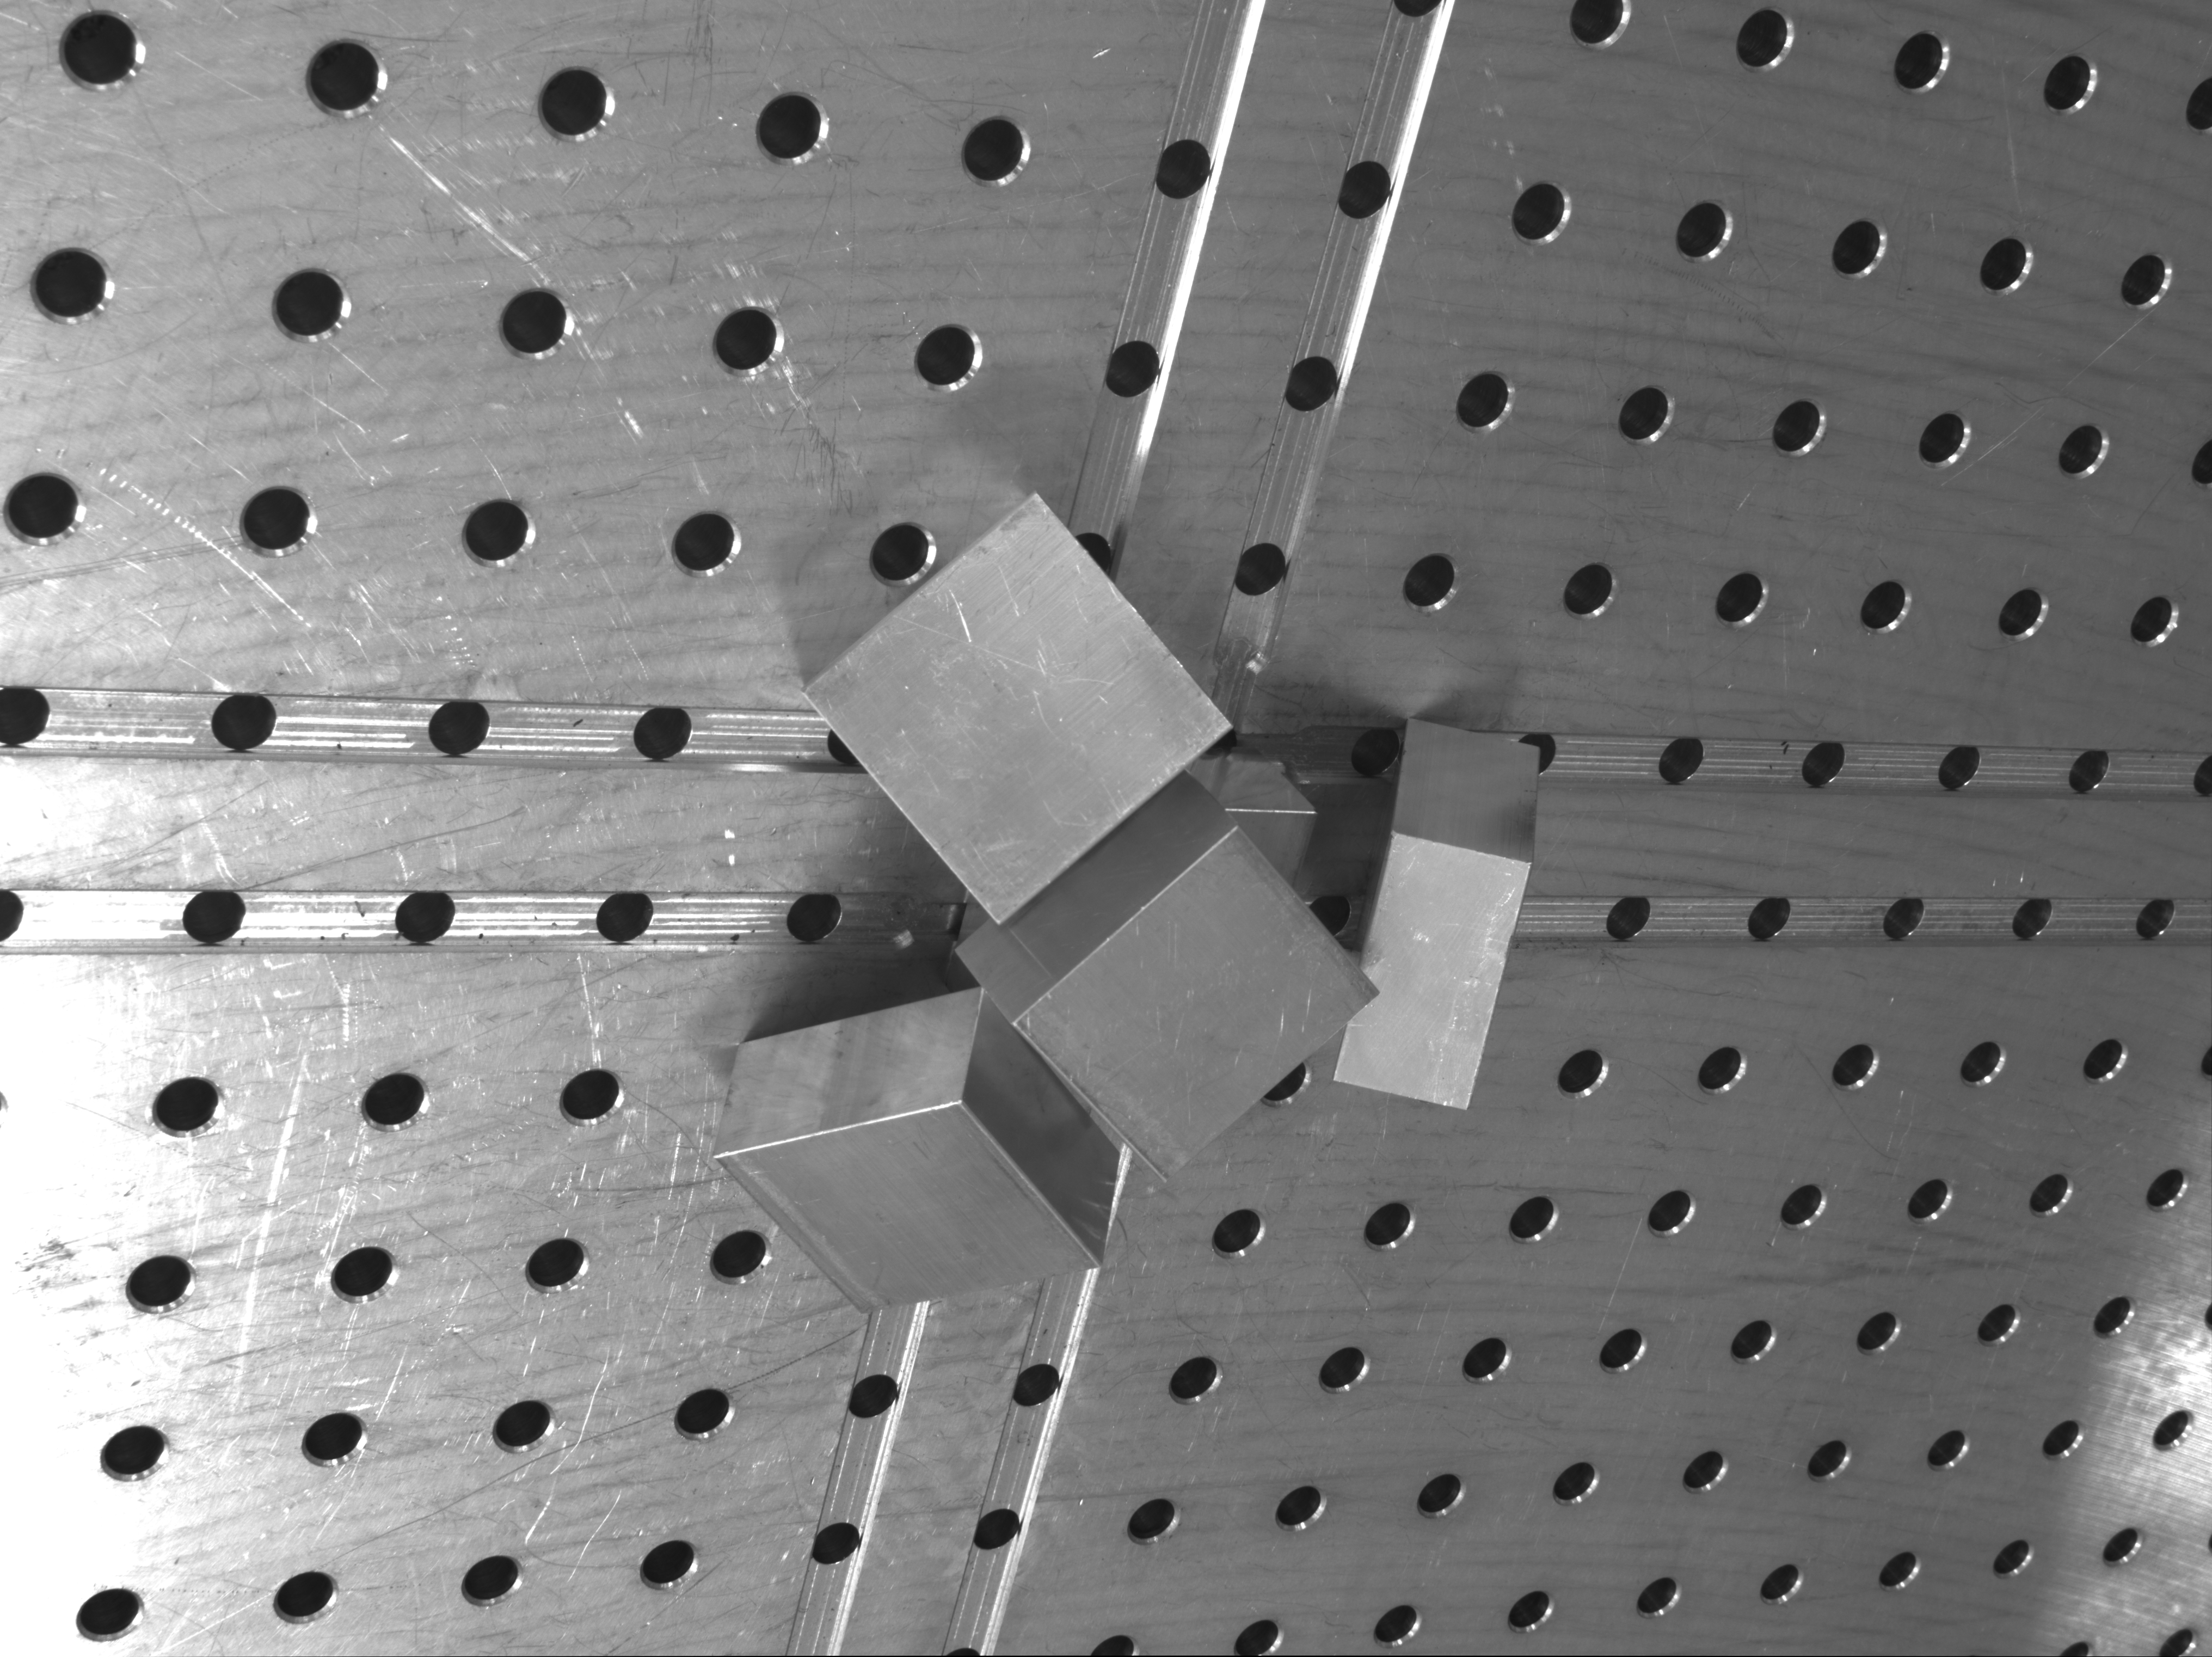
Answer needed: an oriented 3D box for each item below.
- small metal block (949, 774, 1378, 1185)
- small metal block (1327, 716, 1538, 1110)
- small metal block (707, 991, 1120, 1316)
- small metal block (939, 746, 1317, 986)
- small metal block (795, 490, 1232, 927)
[{"bbox_3d":[0.010,0.025,0.629,0.050,0.025,0.050,-42,129,0],"label":"small metal block"},{"bbox_3d":[0.059,0.015,0.662,0.025,0.050,0.050,13,116,3],"label":"small metal block"},{"bbox_3d":[-0.033,0.057,0.641,0.050,0.025,0.050,-14,134,26],"label":"small metal block"},{"bbox_3d":[0.003,0.013,0.650,0.050,0.025,0.050,1,120,-29],"label":"small metal block"},{"bbox_3d":[-0.015,-0.020,0.605,0.050,0.025,0.050,-40,93,-1],"label":"small metal block"}]
